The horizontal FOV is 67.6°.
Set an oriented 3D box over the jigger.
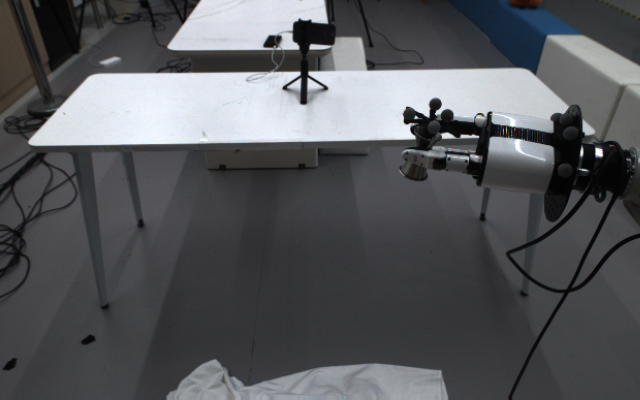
[{"bbox_3d":[0.143,-0.068,0.697,0.043,0.071,0.043,10,36,-7],"label":"jigger"}]
